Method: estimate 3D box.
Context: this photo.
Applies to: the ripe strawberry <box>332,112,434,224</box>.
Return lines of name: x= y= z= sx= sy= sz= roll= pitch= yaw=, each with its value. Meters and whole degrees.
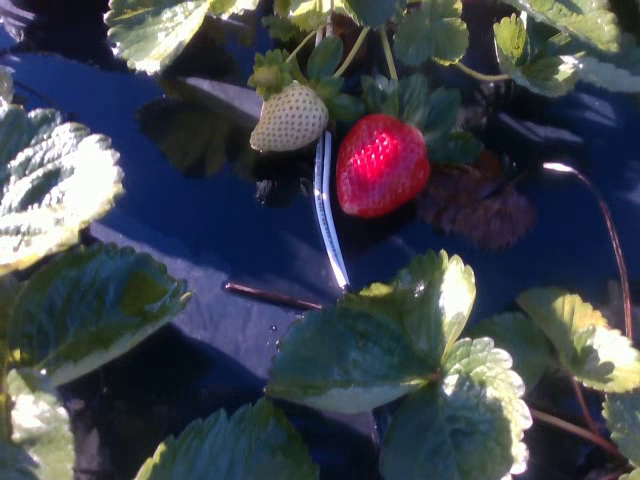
ripe strawberry: x=0.035 y=-0.039 z=0.308 sx=0.040 sy=0.063 sz=0.080 roll=-23 pitch=23 yaw=49
